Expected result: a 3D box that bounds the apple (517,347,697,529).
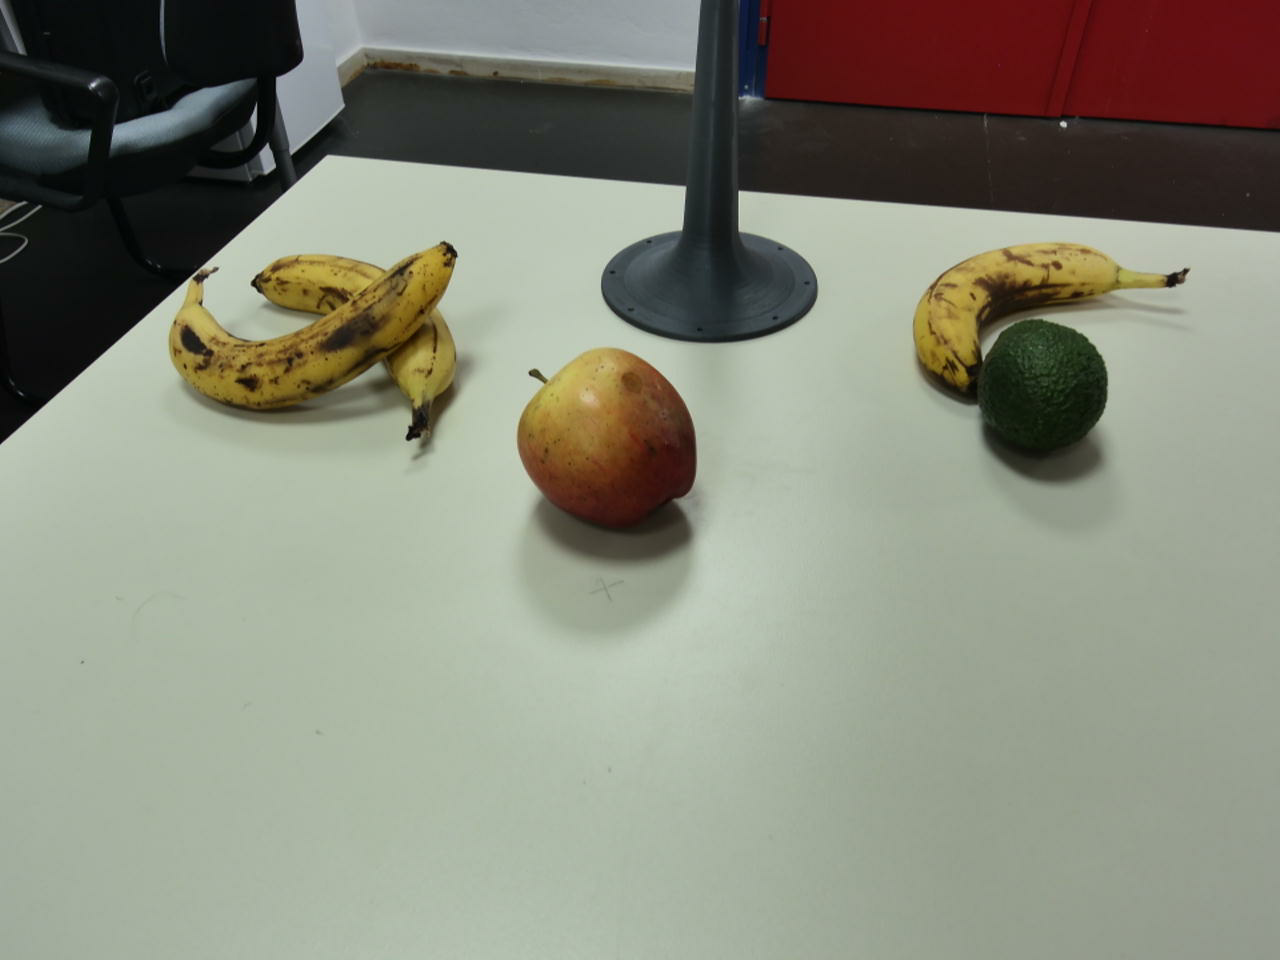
[{"bbox_3d":[-0.017,-0.021,0.506,0.086,0.084,0.093,-17,41,-18],"label":"apple"}]
